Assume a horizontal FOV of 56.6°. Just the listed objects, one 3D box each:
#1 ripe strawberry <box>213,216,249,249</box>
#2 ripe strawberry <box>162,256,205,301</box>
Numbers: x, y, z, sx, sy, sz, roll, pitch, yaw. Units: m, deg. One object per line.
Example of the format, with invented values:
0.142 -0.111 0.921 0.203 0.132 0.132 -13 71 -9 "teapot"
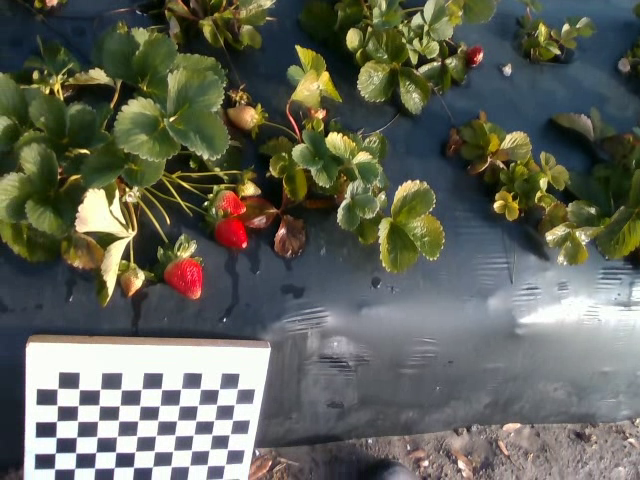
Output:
-0.117 -0.004 0.780 0.055 0.045 0.042 42 12 28 "ripe strawberry"
-0.171 0.052 0.745 0.050 0.065 0.050 -32 -31 2 "ripe strawberry"
